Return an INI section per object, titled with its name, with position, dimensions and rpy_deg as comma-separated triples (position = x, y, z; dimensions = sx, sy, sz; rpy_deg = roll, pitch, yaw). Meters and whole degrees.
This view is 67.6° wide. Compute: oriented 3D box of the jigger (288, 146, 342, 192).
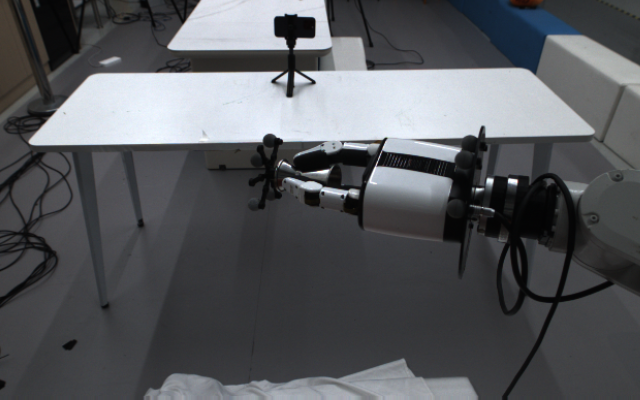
[jigger]
position = -0.008, -0.026, 0.566
dimensions = 0.071, 0.043, 0.043
rpy_deg = 10, 35, 22
